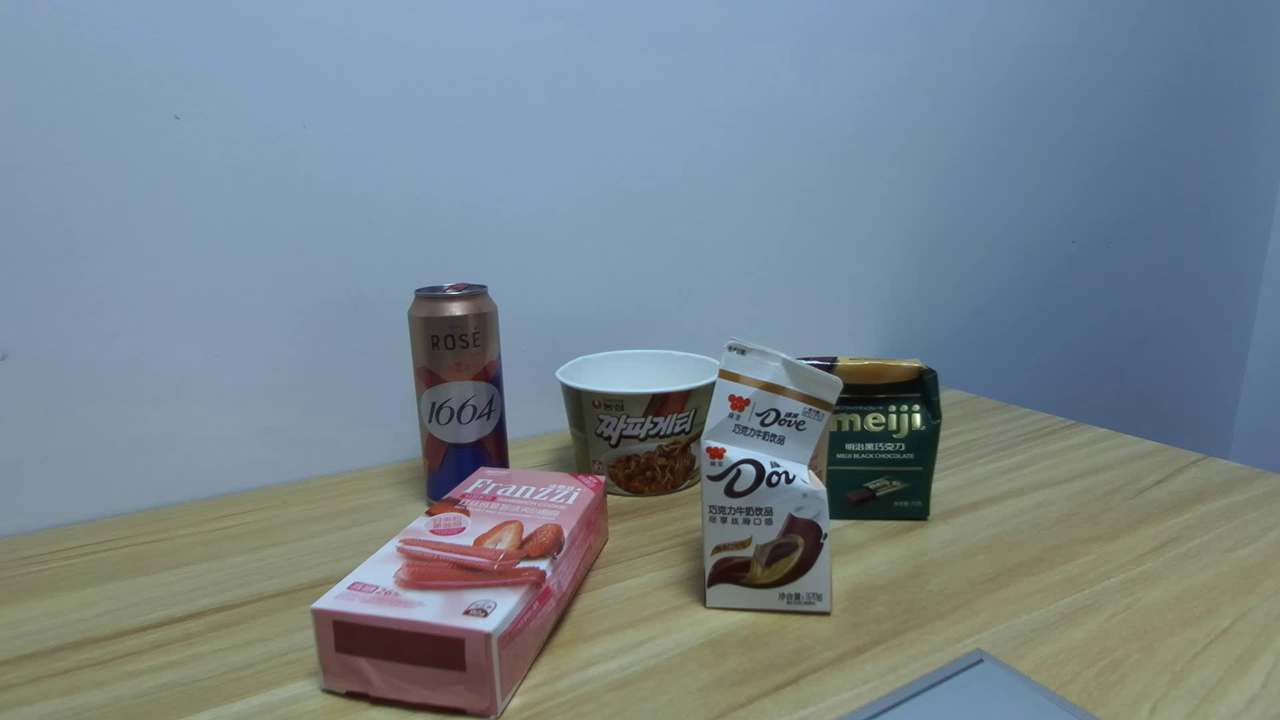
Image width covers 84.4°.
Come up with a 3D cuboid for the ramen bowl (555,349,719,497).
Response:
[{"bbox_3d":[0.007,0.051,0.596,0.140,0.095,0.140,-2,15,1],"label":"ramen bowl"}]

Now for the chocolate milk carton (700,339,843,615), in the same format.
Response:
[{"bbox_3d":[0.076,0.061,0.412,0.076,0.155,0.073,1,17,9],"label":"chocolate milk carton"}]

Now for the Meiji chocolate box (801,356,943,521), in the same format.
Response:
[{"bbox_3d":[0.159,0.055,0.527,0.117,0.117,0.052,0,7,6],"label":"Meiji chocolate box"}]

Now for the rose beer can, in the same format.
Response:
[{"bbox_3d":[-0.139,0.030,0.552,0.068,0.169,0.068,-1,13,0],"label":"rose beer can"}]

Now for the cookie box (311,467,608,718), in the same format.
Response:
[{"bbox_3d":[-0.085,0.121,0.412,0.105,0.049,0.187,2,14,14],"label":"cookie box"}]
